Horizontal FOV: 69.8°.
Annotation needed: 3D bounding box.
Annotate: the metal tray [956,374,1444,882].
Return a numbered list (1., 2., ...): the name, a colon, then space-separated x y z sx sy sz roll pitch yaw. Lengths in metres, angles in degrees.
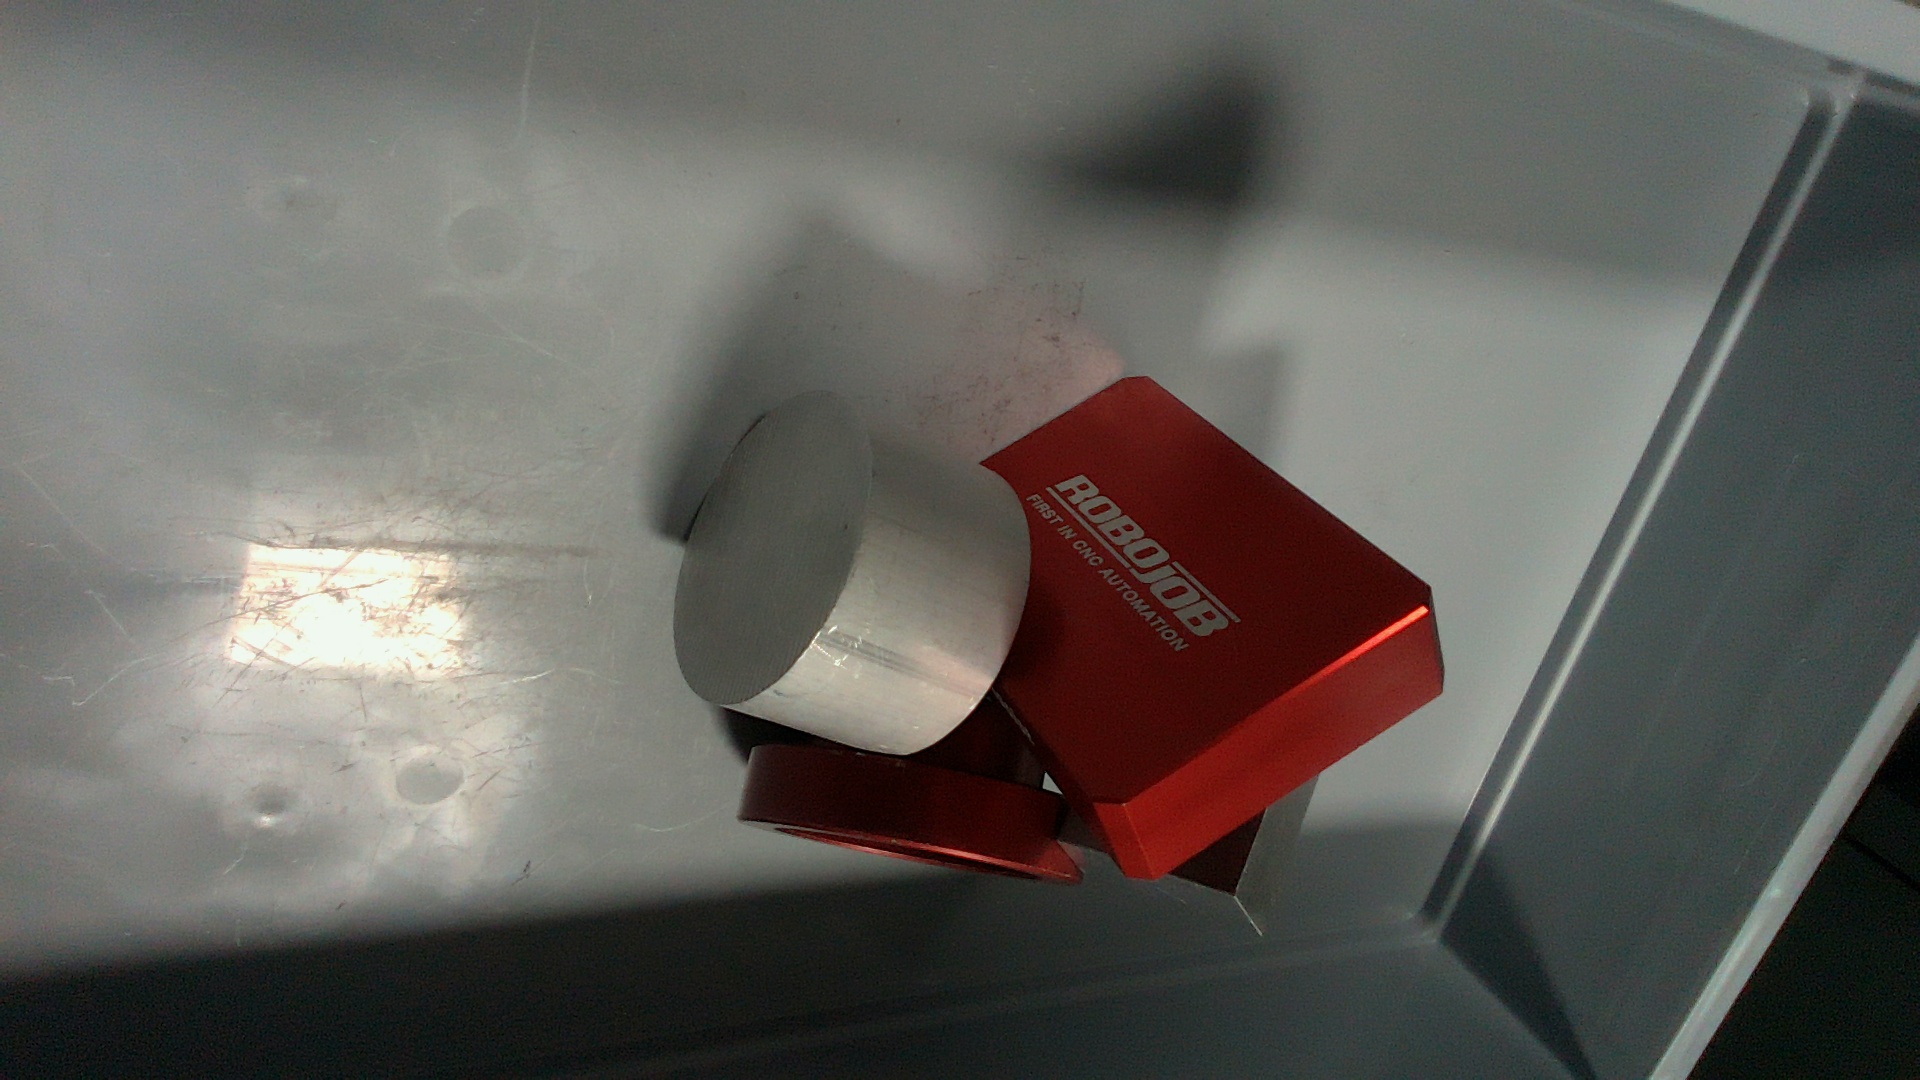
1. metal tray: 0.046 0.014 0.354 0.090 0.130 0.030 -31 130 -8

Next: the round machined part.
1. round machined part: -0.011 0.068 0.389 0.098 0.098 0.042 22 71 -36

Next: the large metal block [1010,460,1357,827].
1. large metal block: 0.064 0.030 0.415 0.080 0.050 0.080 -14 129 -21

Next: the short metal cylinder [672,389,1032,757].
1. short metal cylinder: -0.028 0.009 0.343 0.050 0.080 0.080 25 105 -37

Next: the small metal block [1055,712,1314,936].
1. small metal block: 0.060 0.068 0.358 0.050 0.050 0.025 -62 142 -24
